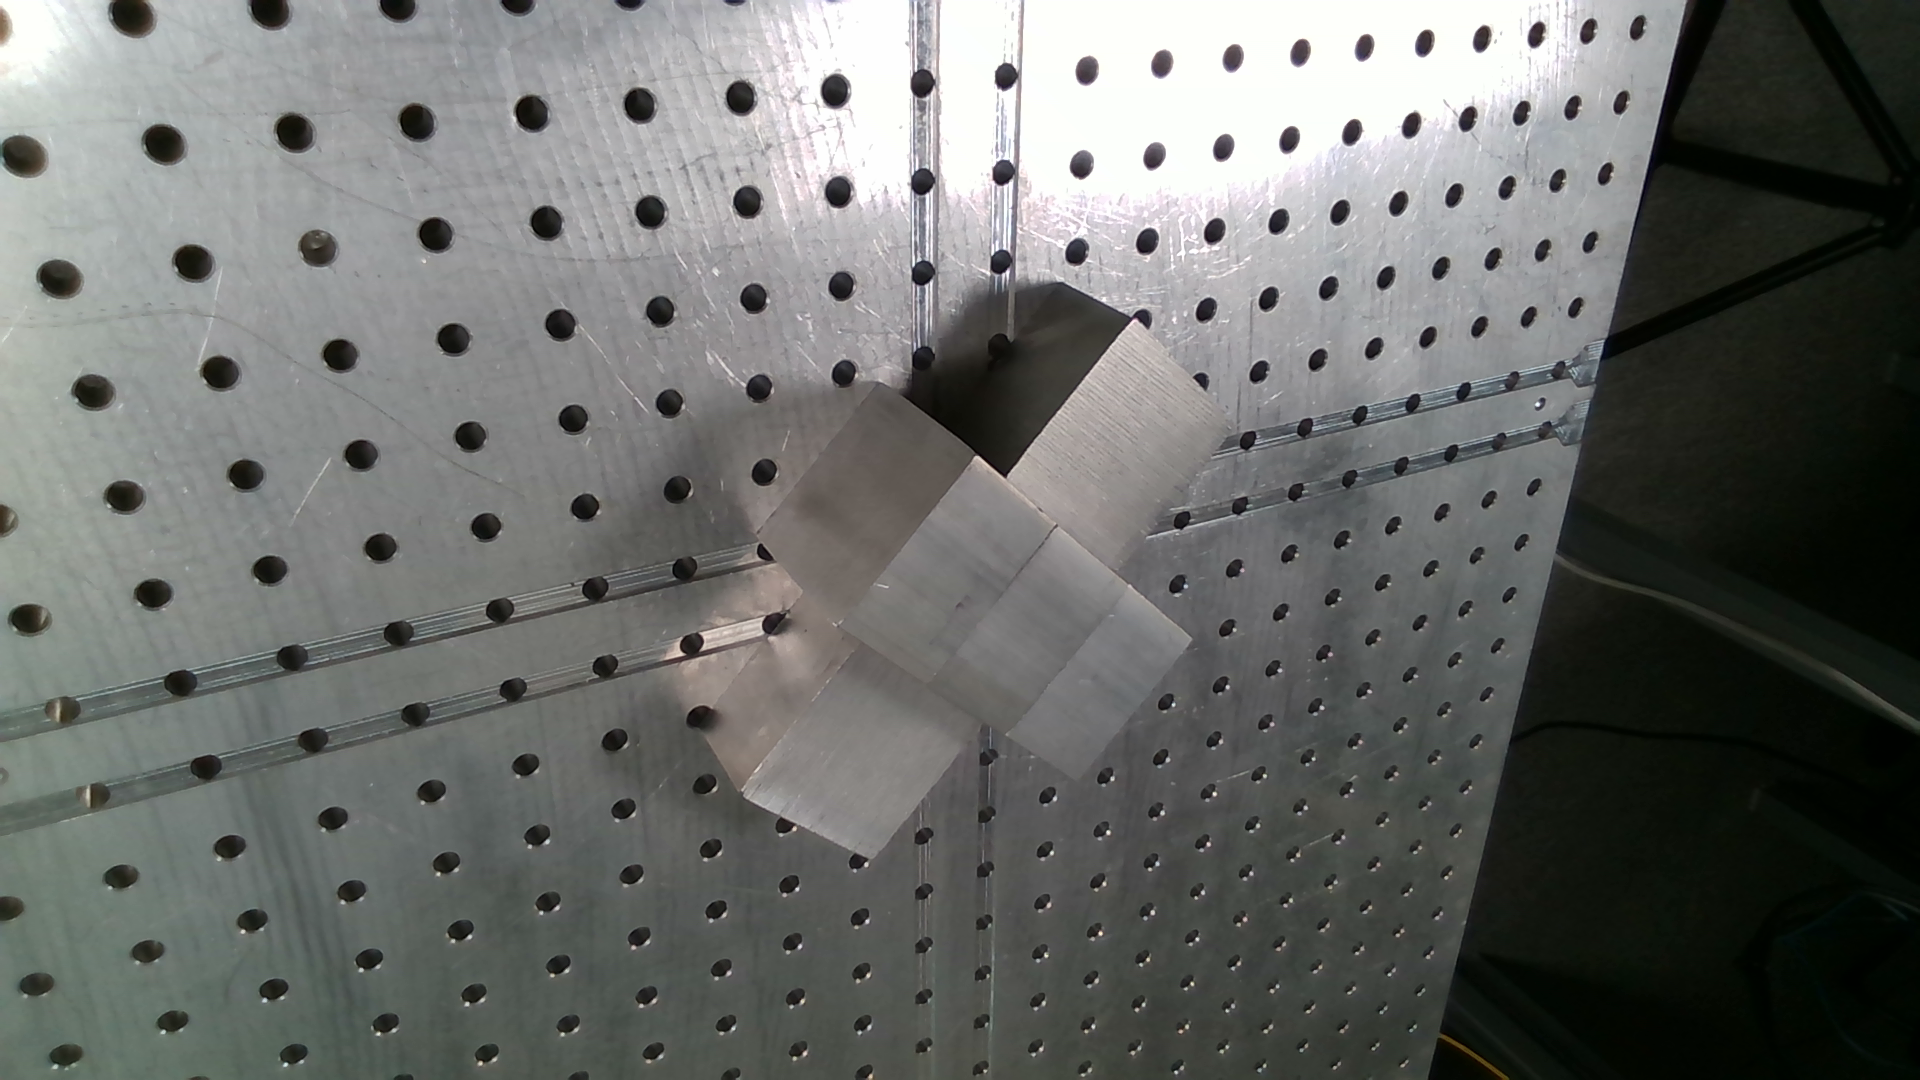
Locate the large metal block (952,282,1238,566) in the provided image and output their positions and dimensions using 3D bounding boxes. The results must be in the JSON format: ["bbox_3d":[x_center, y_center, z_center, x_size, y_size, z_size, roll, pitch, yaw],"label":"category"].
[{"bbox_3d":[0.055,-0.046,0.573,0.080,0.050,0.080,36,93,-38],"label":"large metal block"}]

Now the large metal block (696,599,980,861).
[{"bbox_3d":[-0.049,0.076,0.579,0.080,0.050,0.080,-51,128,2],"label":"large metal block"}]

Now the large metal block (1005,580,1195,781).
[{"bbox_3d":[0.040,0.043,0.596,0.080,0.080,0.050,-51,129,2],"label":"large metal block"}]

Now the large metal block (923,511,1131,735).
[{"bbox_3d":[0.008,0.019,0.564,0.080,0.080,0.050,-51,129,2],"label":"large metal block"}]

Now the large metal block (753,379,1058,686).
[{"bbox_3d":[-0.023,-0.005,0.532,0.080,0.080,0.050,-51,129,2],"label":"large metal block"}]
